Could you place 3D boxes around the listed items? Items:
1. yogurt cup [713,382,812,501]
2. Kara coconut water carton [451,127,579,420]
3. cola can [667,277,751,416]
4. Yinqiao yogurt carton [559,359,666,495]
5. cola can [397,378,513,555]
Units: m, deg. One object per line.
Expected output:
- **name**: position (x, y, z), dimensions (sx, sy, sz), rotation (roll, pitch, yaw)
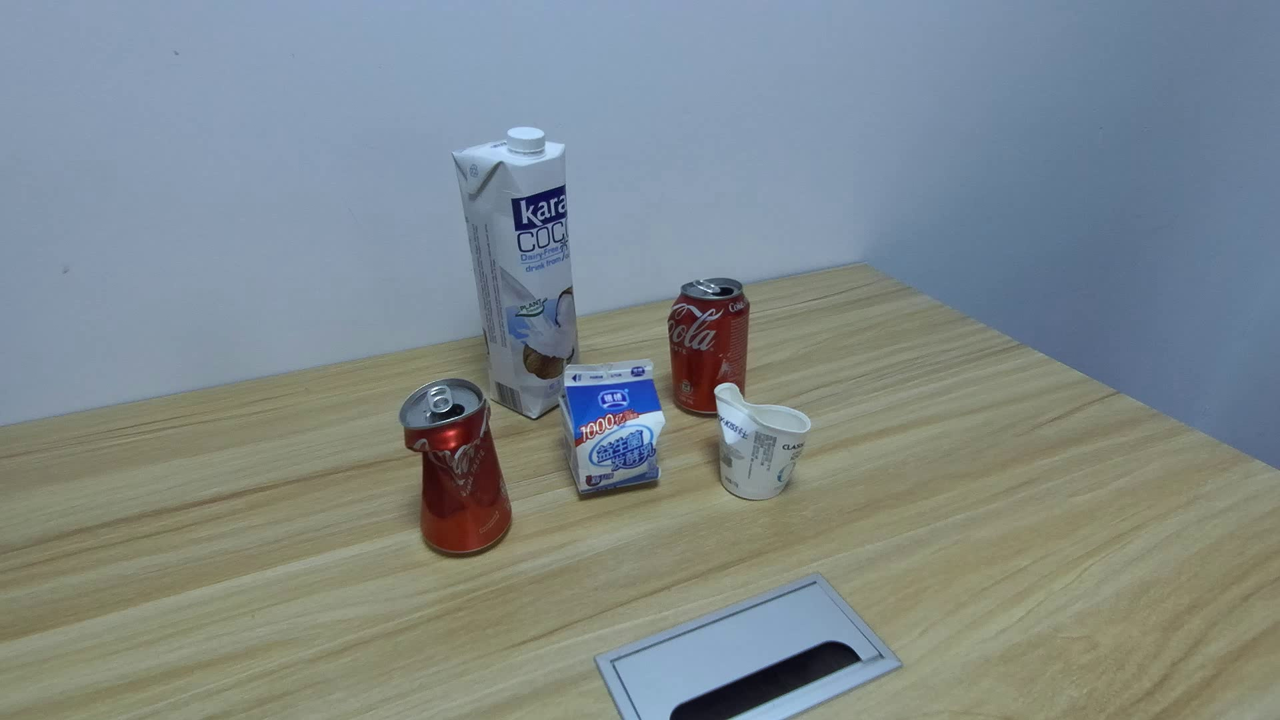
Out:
- **yogurt cup**: position (0.090, 0.063, 0.539), dimensions (0.075, 0.071, 0.054), rotation (10, 31, 17)
- **Kara coconut water carton**: position (-0.100, -0.073, 0.613), dimensions (0.075, 0.245, 0.077), rotation (20, 35, 36)
- **cola can**: position (0.063, -0.011, 0.629), dimensions (0.072, 0.117, 0.065), rotation (-12, 31, -21)
- **Yinqiao yogurt carton**: position (-0.021, 0.045, 0.549), dimensions (0.074, 0.097, 0.080), rotation (-8, 22, -14)
- **cola can**: position (-0.126, 0.074, 0.489), dimensions (0.065, 0.112, 0.069), rotation (7, 30, 16)
